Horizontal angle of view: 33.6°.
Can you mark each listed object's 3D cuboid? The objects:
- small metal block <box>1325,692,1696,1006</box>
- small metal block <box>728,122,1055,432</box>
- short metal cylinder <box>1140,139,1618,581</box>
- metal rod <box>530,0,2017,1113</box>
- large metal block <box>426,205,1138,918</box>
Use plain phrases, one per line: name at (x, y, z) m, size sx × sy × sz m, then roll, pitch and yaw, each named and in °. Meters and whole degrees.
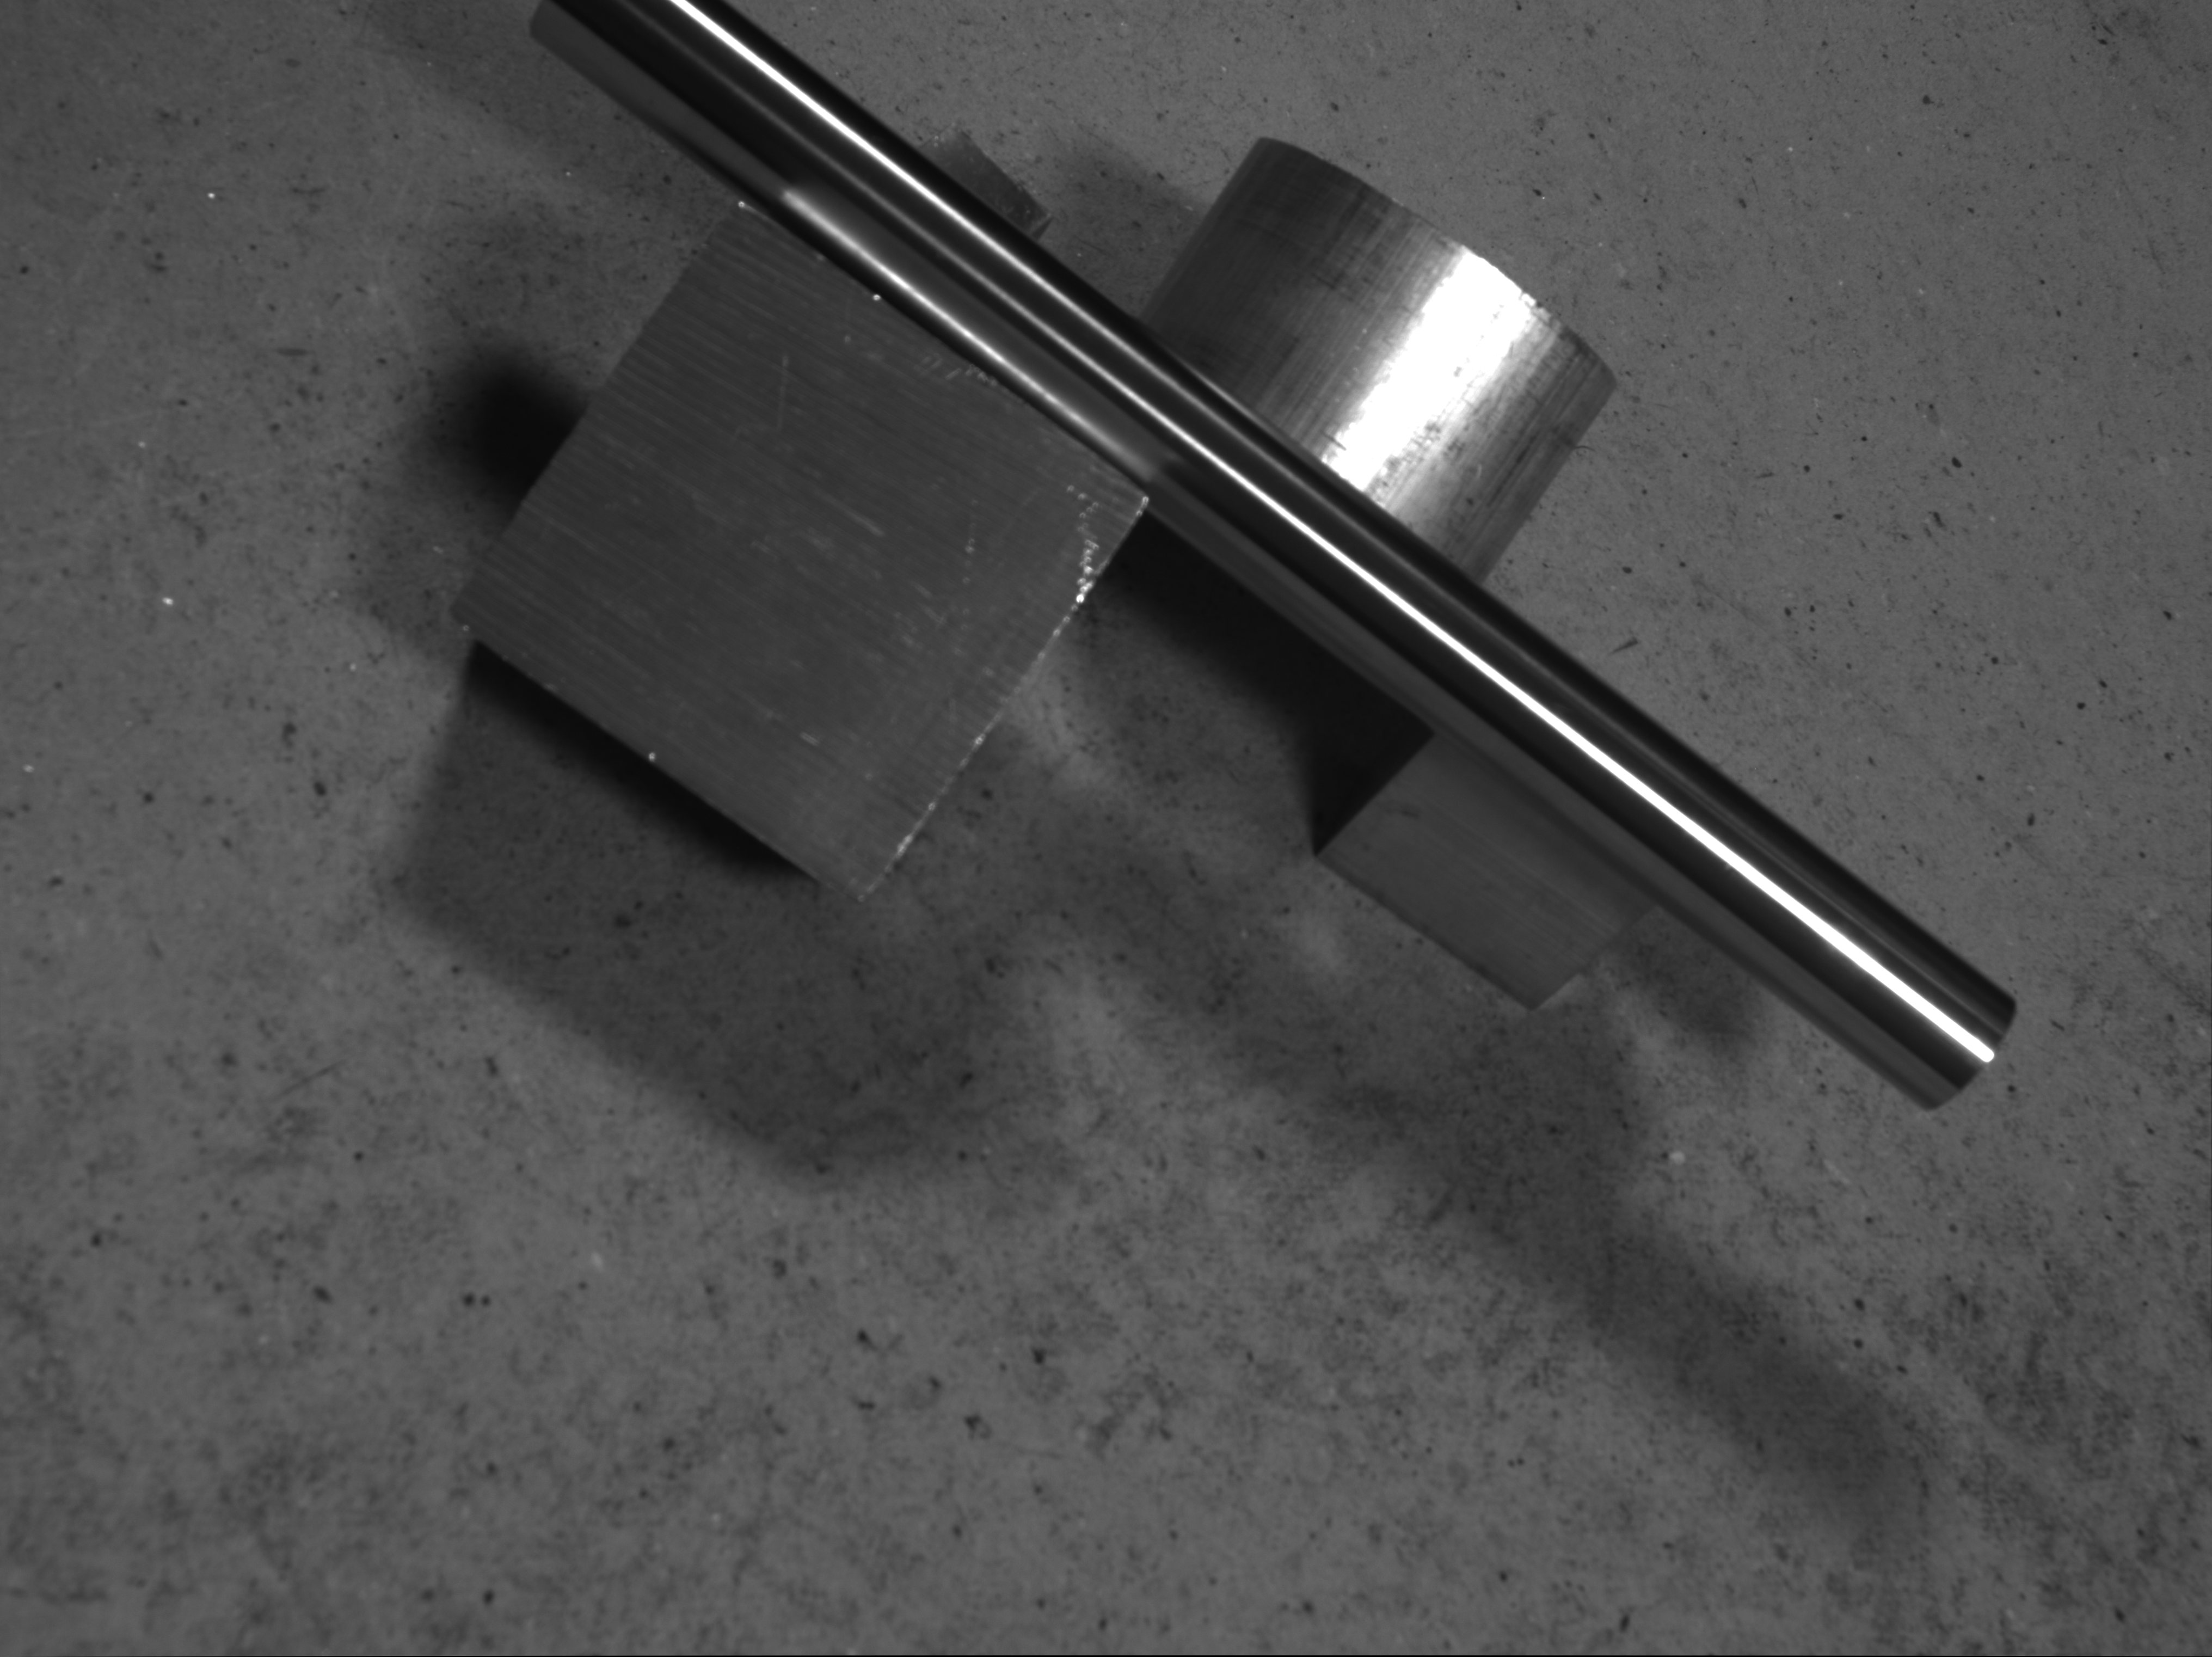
small metal block at (0.076, -0.002, 0.662) m, size 0.050 × 0.050 × 0.025 m, roll 35°, pitch 51°, yaw -5°
small metal block at (-0.042, -0.092, 0.658) m, size 0.025 × 0.050 × 0.050 m, roll 43°, pitch 51°, yaw 2°
short metal cylinder at (0.047, -0.083, 0.672) m, size 0.080 × 0.080 × 0.050 m, roll 34°, pitch 93°, yaw -6°
metal rod at (0.030, -0.052, 0.624) m, size 0.300 × 0.025 × 0.025 m, roll 37°, pitch 51°, yaw -3°
large metal block at (-0.052, -0.043, 0.600) m, size 0.080 × 0.050 × 0.080 m, roll 35°, pitch 91°, yaw -5°
